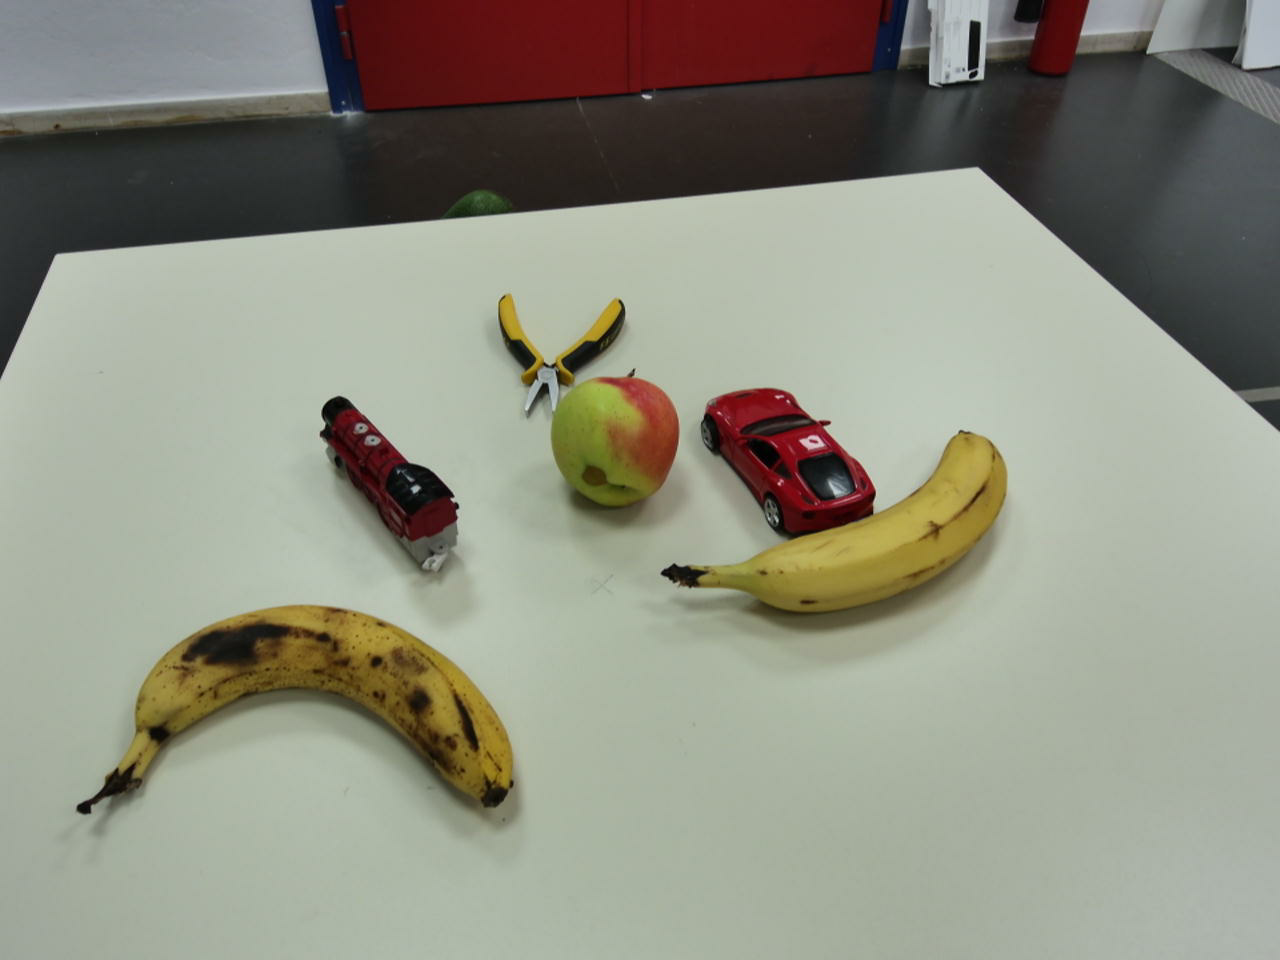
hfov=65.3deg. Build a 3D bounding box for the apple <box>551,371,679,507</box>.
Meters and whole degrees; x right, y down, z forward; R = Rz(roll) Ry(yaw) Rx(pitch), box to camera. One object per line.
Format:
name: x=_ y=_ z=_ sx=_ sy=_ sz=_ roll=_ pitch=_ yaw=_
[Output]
apple: x=-0.014 y=-0.023 z=0.576 sx=0.075 sy=0.074 sz=0.075 roll=-21 pitch=44 yaw=-24
